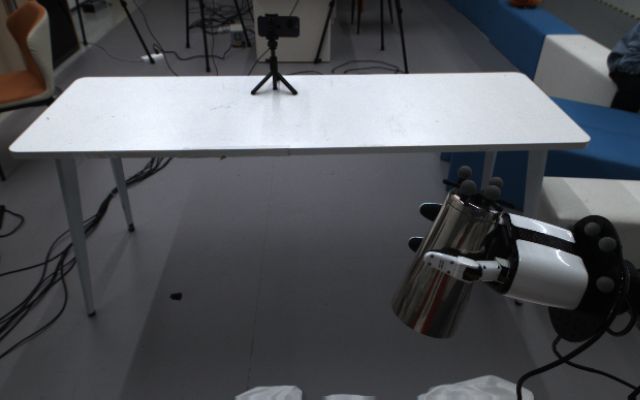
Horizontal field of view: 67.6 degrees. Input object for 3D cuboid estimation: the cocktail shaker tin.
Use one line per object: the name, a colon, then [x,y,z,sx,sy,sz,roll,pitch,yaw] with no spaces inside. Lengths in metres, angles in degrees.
cocktail shaker tin: [0.163,0.074,0.607,0.093,0.170,0.093,16,21,-6]
